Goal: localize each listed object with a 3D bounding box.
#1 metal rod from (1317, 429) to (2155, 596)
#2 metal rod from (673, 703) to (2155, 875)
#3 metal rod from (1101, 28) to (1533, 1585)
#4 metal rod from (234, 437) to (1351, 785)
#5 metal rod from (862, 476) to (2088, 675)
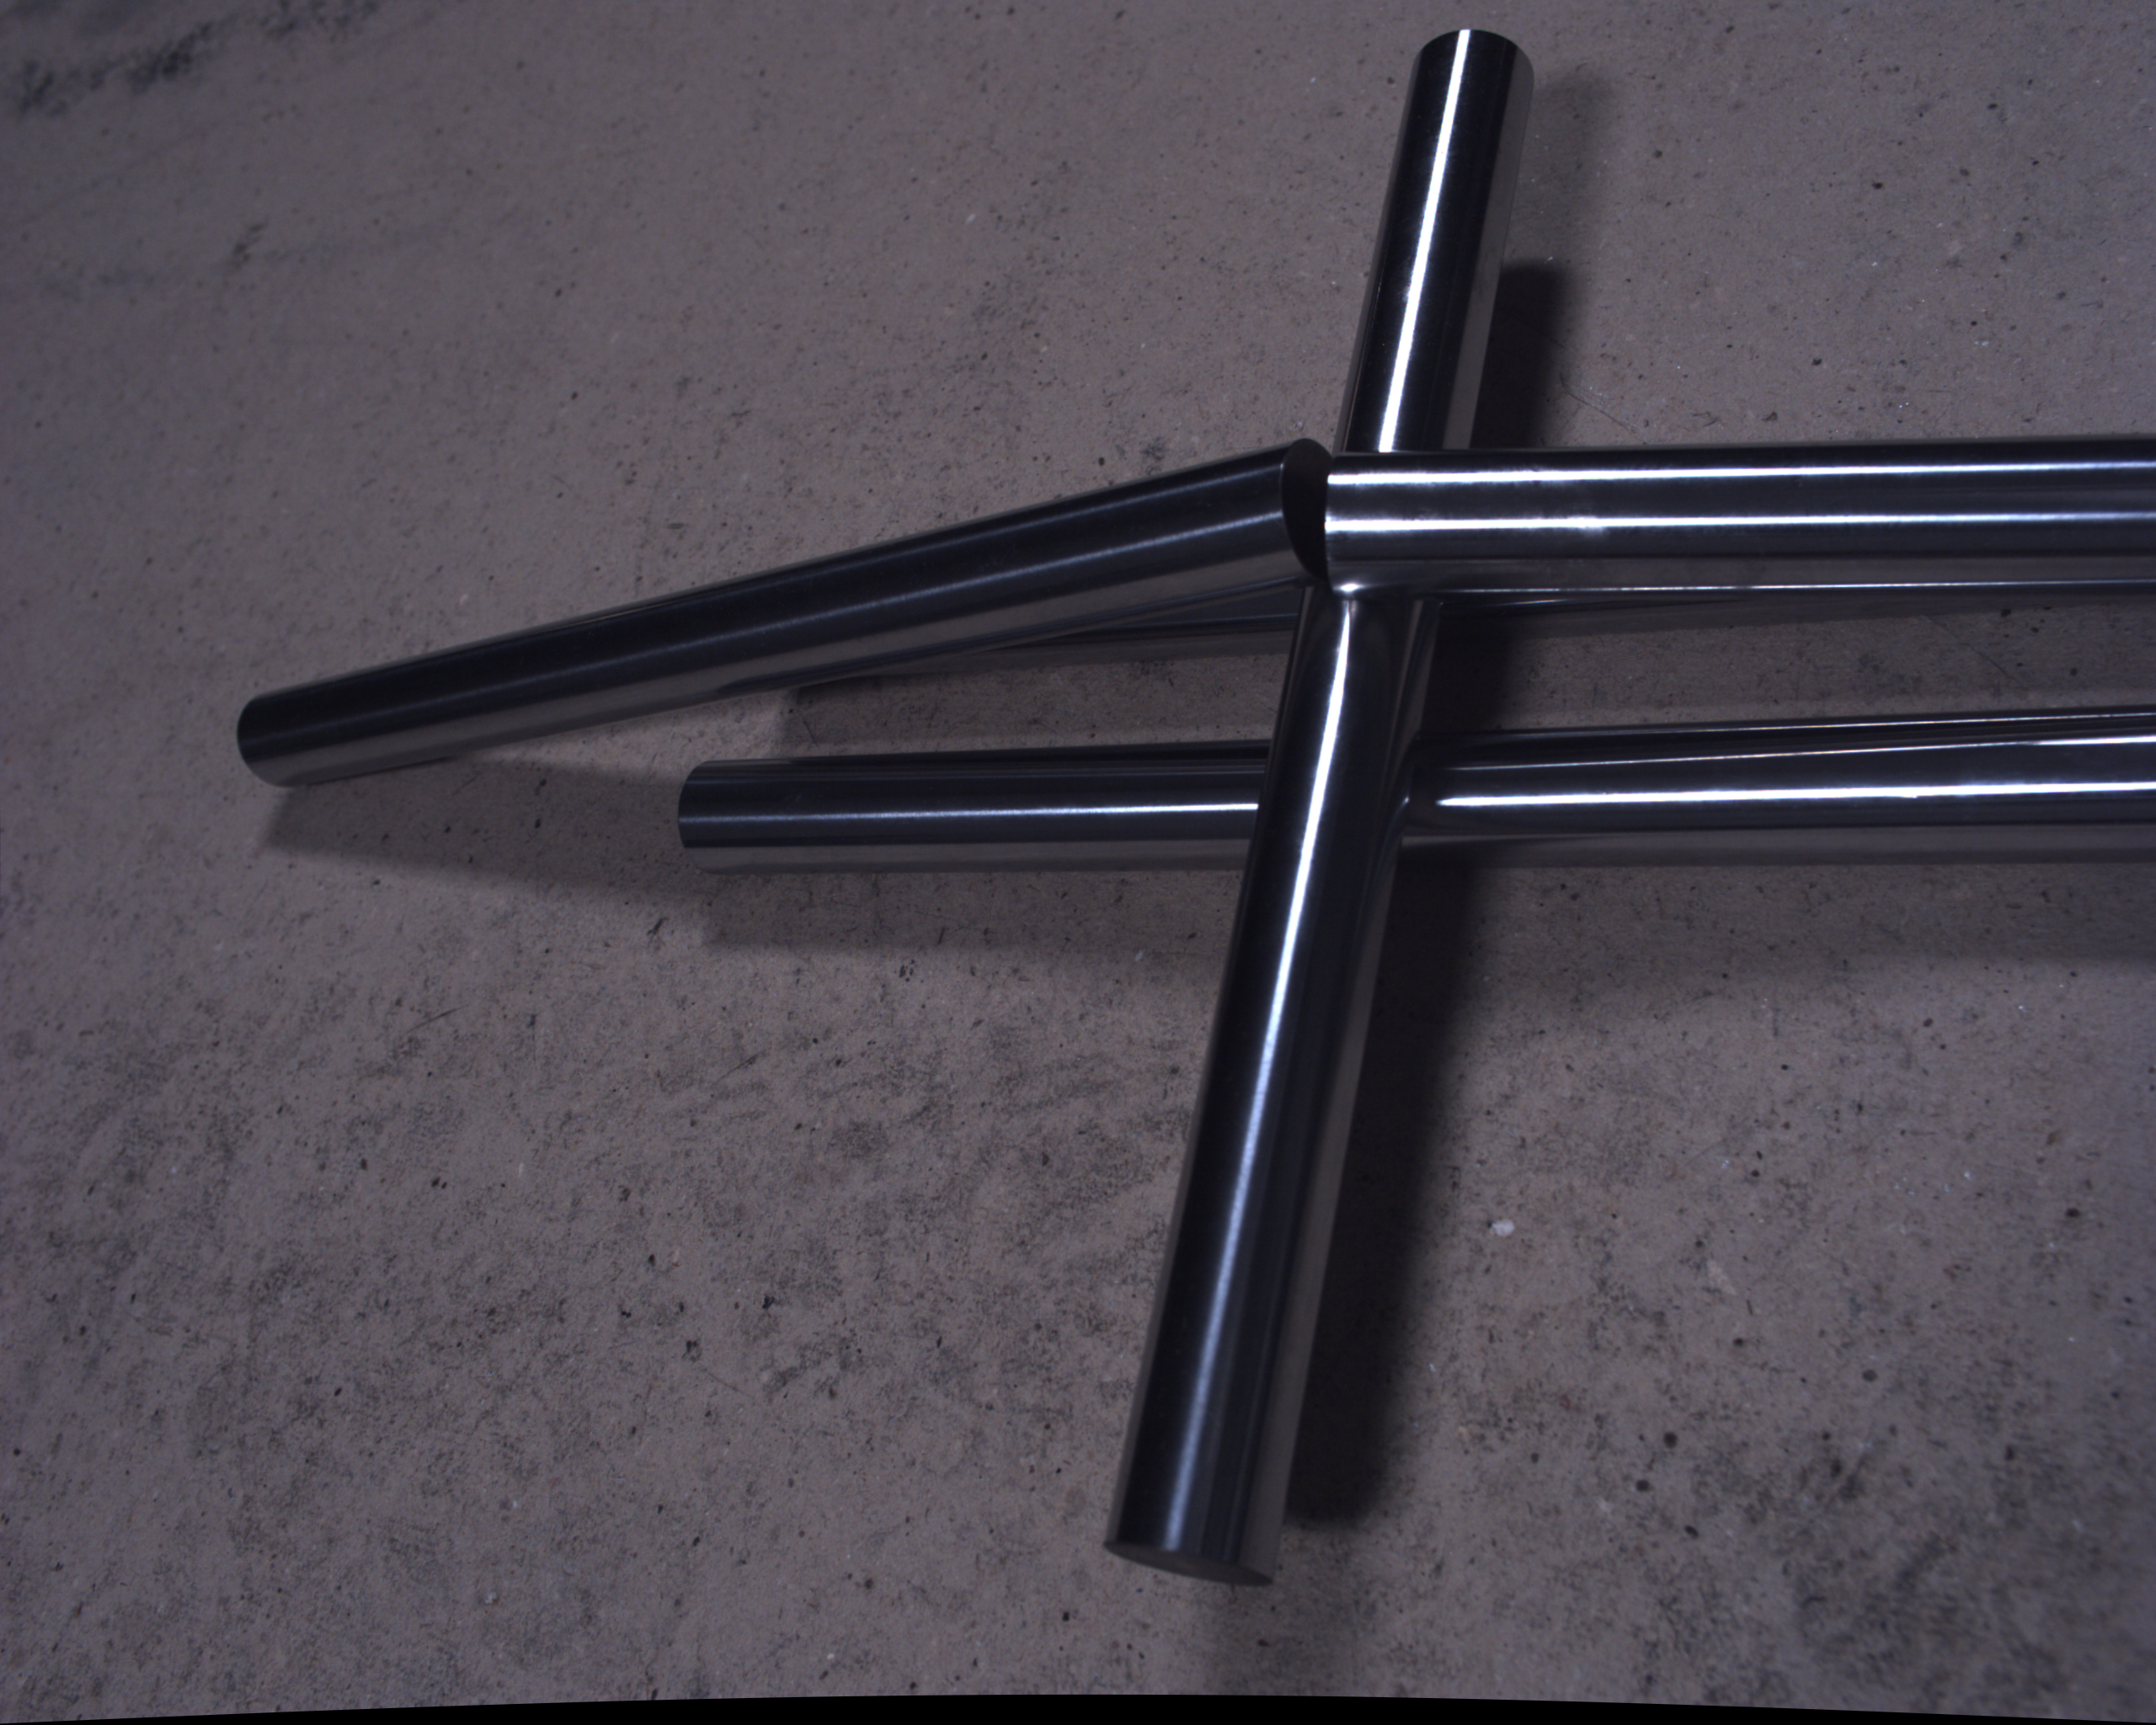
[{"bbox_3d":[0.186,-0.052,0.307,0.301,0.025,0.025,2,62,17],"label":"metal rod"},{"bbox_3d":[0.054,-0.011,0.382,0.300,0.025,0.025,-1,62,27],"label":"metal rod"},{"bbox_3d":[0.048,-0.030,0.365,0.025,0.025,0.300,0,61,28],"label":"metal rod"},{"bbox_3d":[-0.080,-0.046,0.442,0.300,0.025,0.025,-7,58,35],"label":"metal rod"},{"bbox_3d":[0.066,-0.055,0.403,0.300,0.025,0.025,-1,62,27],"label":"metal rod"}]
